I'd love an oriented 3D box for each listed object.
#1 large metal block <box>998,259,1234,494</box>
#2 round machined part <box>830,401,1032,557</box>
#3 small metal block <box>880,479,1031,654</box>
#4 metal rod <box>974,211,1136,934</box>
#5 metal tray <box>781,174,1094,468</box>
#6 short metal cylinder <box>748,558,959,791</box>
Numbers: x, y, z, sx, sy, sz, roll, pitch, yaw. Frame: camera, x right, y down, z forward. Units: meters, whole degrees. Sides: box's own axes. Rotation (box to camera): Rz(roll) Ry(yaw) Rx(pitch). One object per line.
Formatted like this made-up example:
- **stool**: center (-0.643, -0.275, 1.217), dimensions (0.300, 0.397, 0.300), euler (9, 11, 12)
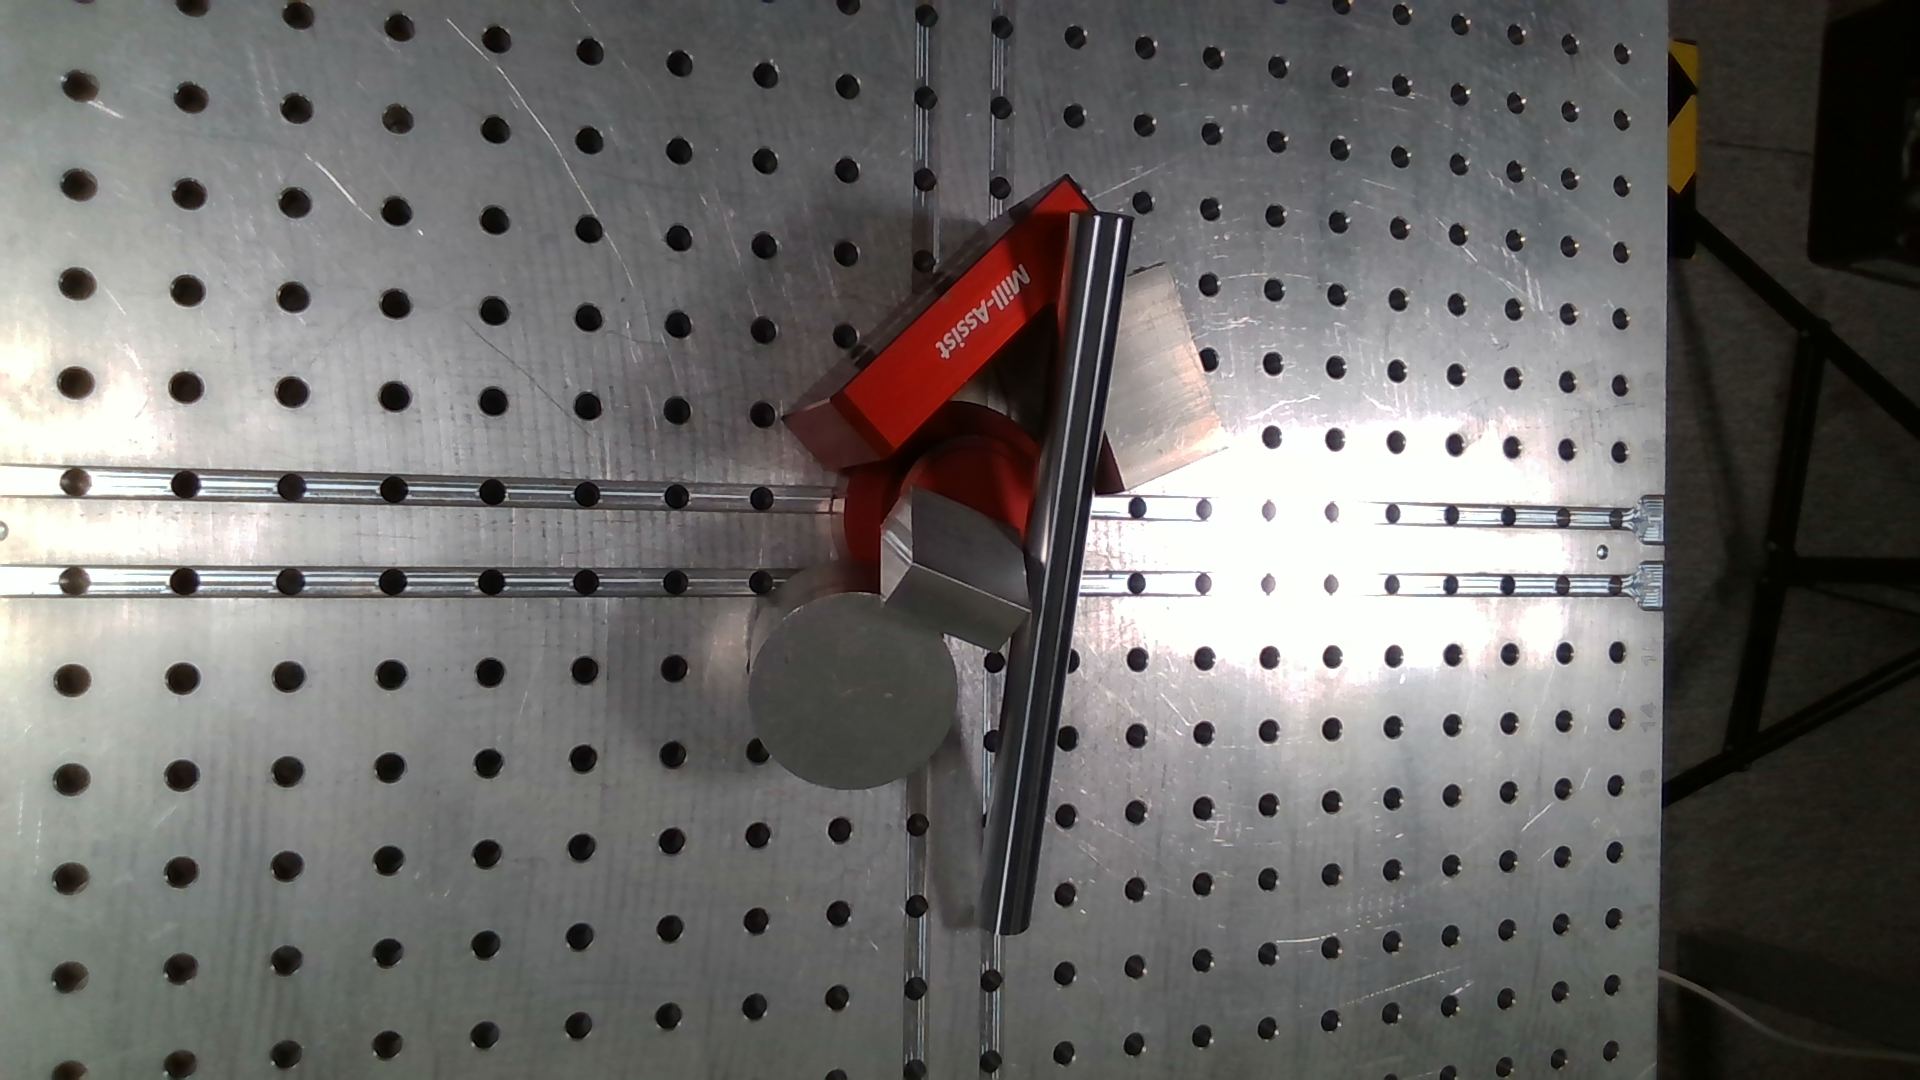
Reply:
- **large metal block**: center (0.061, -0.065, 0.580), dimensions (0.050, 0.080, 0.080), euler (-23, 98, -19)
- **round machined part**: center (-0.002, -0.010, 0.581), dimensions (0.098, 0.042, 0.098), euler (0, 90, -20)
- **small metal block**: center (-0.003, 0.010, 0.528), dimensions (0.050, 0.050, 0.025), euler (23, 124, -21)
- **metal rod**: center (0.035, 0.022, 0.551), dimensions (0.025, 0.025, 0.301), euler (0, 110, -20)
- **metal tray**: center (-0.007, -0.085, 0.550), dimensions (0.130, 0.090, 0.030), euler (-45, 104, -14)
- **short metal cylinder**: center (-0.043, 0.052, 0.546), dimensions (0.080, 0.050, 0.080), euler (-2, 105, -7)
